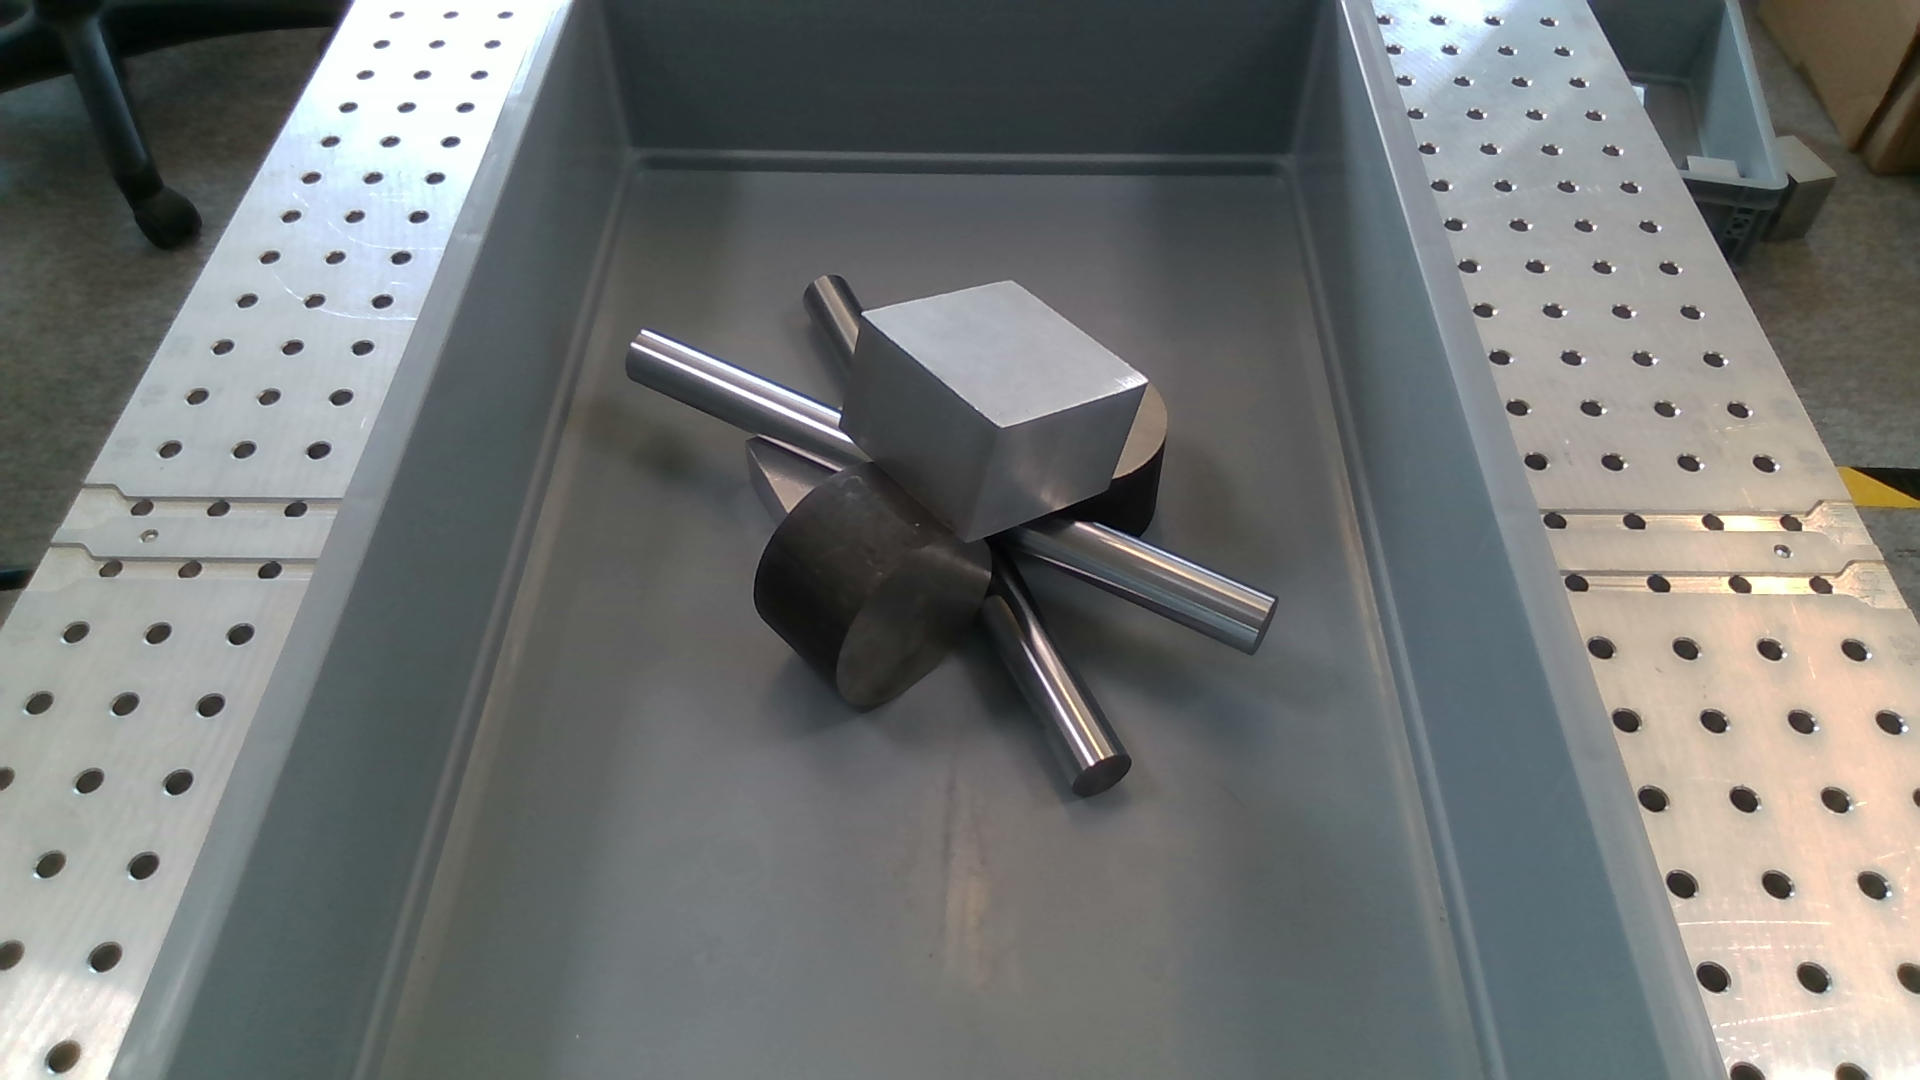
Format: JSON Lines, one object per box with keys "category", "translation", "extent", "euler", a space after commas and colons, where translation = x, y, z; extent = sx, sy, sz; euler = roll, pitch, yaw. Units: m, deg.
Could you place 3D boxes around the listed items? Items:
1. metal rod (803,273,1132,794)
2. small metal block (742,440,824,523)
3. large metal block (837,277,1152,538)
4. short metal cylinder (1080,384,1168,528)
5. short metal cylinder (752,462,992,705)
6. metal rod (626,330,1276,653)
{"category": "metal rod", "translation": [-0.007, -0.018, 0.601], "extent": [0.025, 0.025, 0.299], "euler": [-19, 53, -15]}
{"category": "small metal block", "translation": [-0.062, -0.028, 0.609], "extent": [0.050, 0.025, 0.050], "euler": [-22, 54, -18]}
{"category": "large metal block", "translation": [0.012, -0.054, 0.532], "extent": [0.080, 0.050, 0.080], "euler": [-21, 50, -38]}
{"category": "short metal cylinder", "translation": [0.048, -0.037, 0.601], "extent": [0.080, 0.050, 0.080], "euler": [0, 50, 0]}
{"category": "short metal cylinder", "translation": [-0.034, 0.017, 0.536], "extent": [0.080, 0.080, 0.050], "euler": [-36, 58, -26]}
{"category": "metal rod", "translation": [-0.013, -0.026, 0.575], "extent": [0.300, 0.025, 0.025], "euler": [24, 54, 18]}
